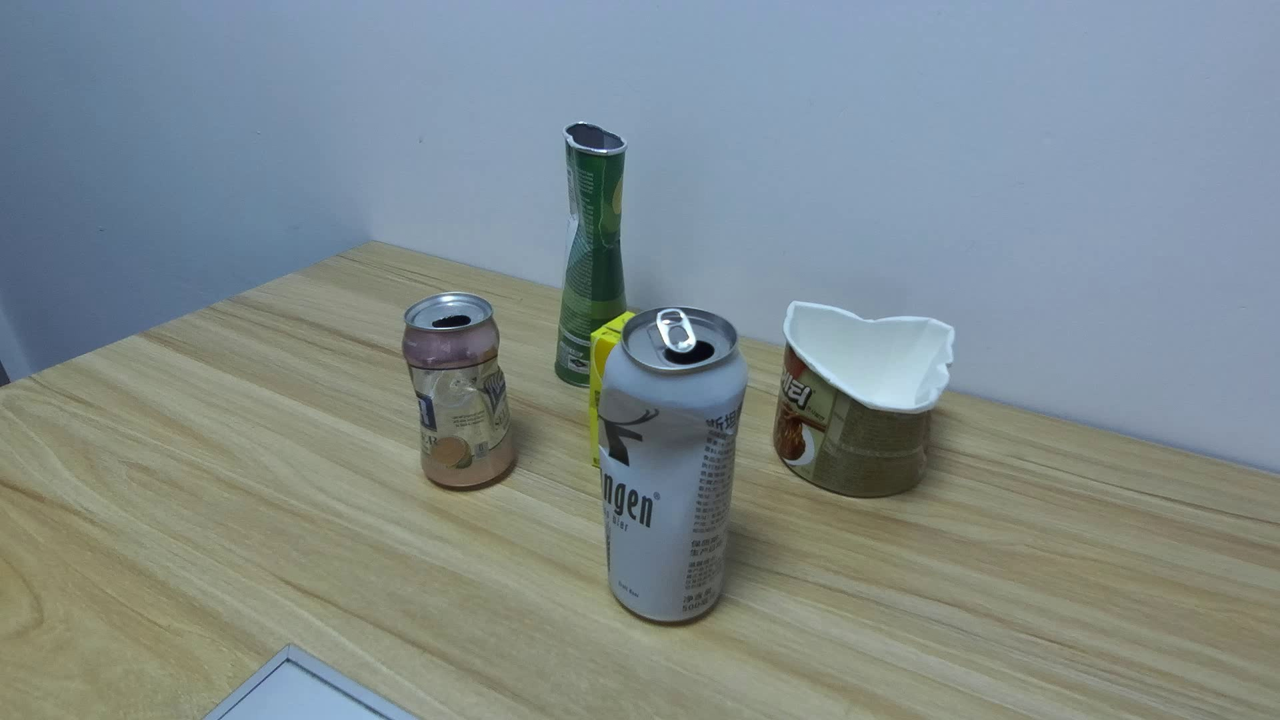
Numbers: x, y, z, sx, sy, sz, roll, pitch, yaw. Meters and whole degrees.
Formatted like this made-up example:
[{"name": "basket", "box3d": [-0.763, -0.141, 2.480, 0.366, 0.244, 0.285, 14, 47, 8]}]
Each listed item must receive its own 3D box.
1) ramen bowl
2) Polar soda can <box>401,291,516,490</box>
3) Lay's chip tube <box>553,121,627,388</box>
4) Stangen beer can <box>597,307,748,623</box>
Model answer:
[{"name": "ramen bowl", "box3d": [0.154, 0.031, 0.494, 0.113, 0.097, 0.134, 8, 31, 10]}, {"name": "Polar soda can", "box3d": [-0.122, 0.023, 0.474, 0.067, 0.122, 0.074, 19, 32, 32]}, {"name": "Lay's chip tube", "box3d": [-0.037, -0.077, 0.565, 0.074, 0.199, 0.069, 17, 30, 29]}, {"name": "Stangen beer can", "box3d": [0.015, 0.058, 0.364, 0.070, 0.173, 0.070, -6, 32, -10]}]
